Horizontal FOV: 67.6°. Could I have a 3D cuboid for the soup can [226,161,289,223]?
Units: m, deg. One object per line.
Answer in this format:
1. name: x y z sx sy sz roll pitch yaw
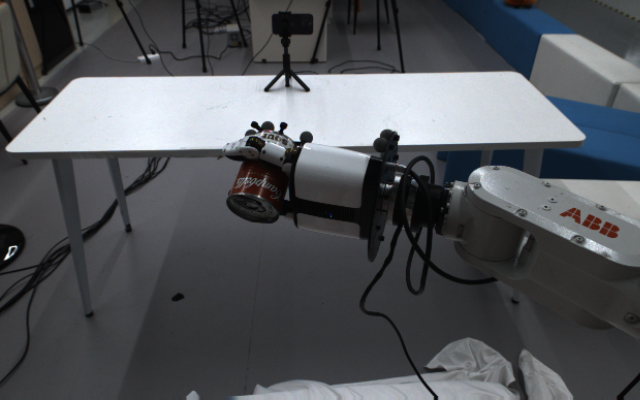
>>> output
1. soup can: -0.070 -0.030 0.615 0.067 0.067 0.101 9 59 10
